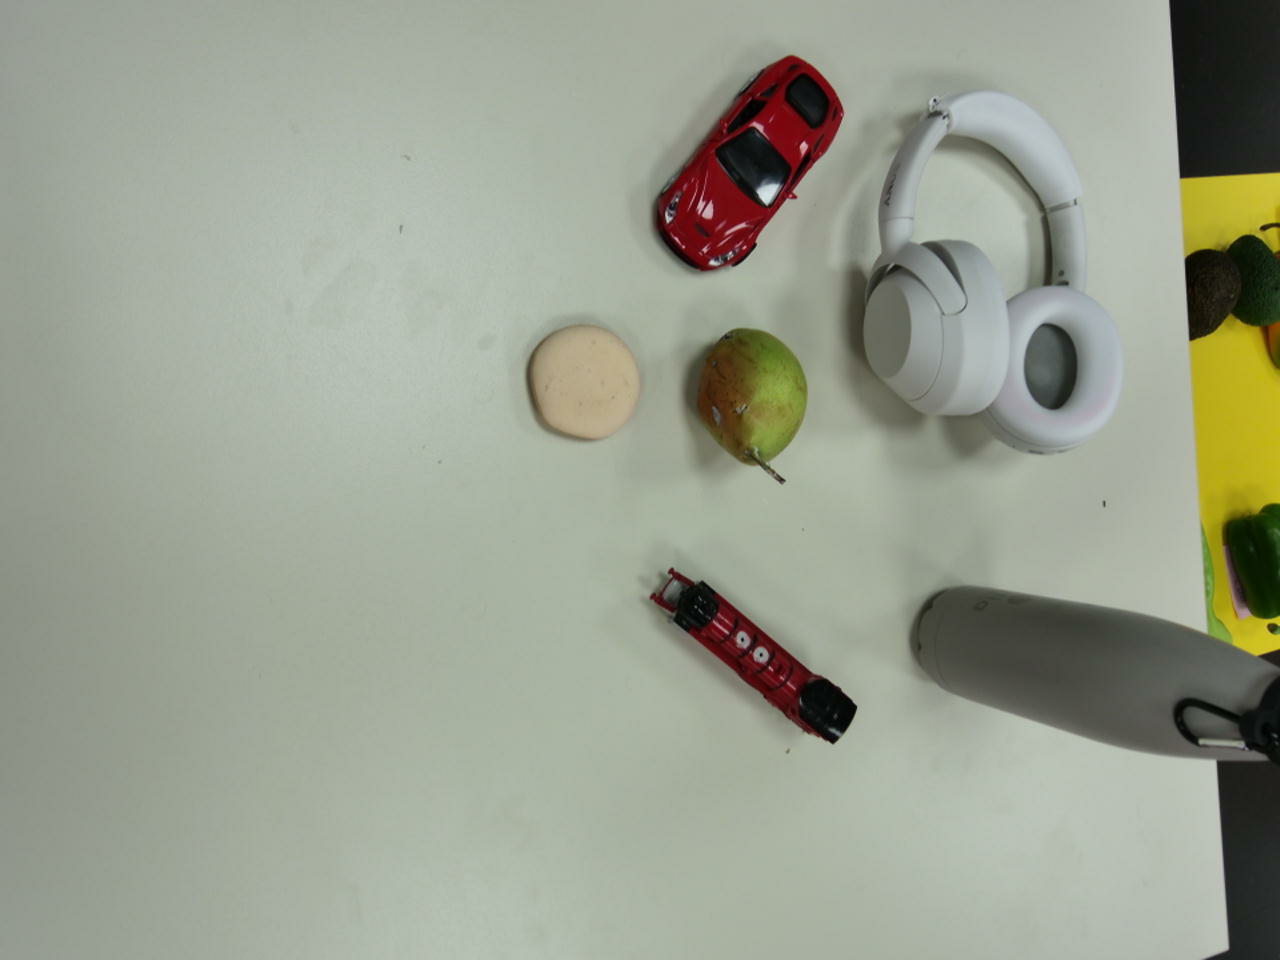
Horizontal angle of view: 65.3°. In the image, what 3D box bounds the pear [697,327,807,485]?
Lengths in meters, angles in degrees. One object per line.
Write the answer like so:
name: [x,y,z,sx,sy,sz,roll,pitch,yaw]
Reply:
pear: [0.062,-0.047,0.555,0.070,0.069,0.068,-47,106,-15]
